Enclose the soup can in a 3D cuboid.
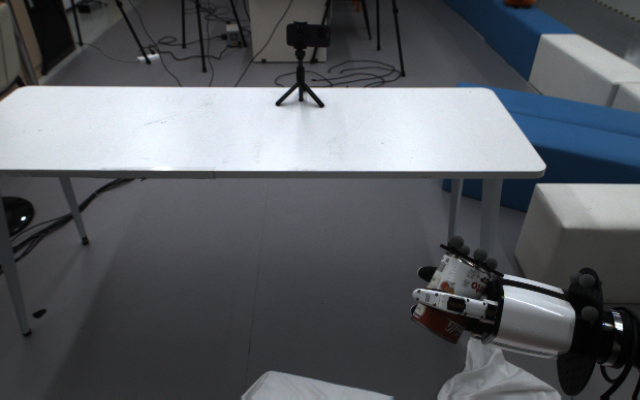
[{"bbox_3d":[0.175,0.128,0.636,0.067,0.067,0.101,26,86,30],"label":"soup can"}]
